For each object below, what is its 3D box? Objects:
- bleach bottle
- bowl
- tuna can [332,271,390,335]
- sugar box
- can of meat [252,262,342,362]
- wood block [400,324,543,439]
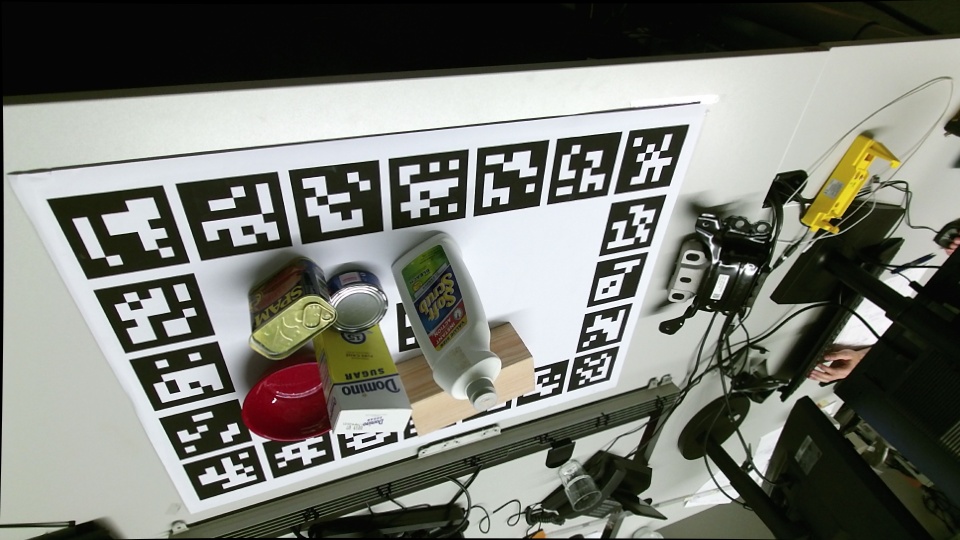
[{"bbox_3d":[-0.024,0.064,0.662,0.103,0.250,0.068,-32,134,-2],"label":"bleach bottle"},{"bbox_3d":[-0.256,0.183,0.766,0.162,0.055,0.162,-17,131,-20],"label":"bowl"},{"bbox_3d":[-0.158,0.044,0.719,0.086,0.033,0.086,-13,127,-19],"label":"tuna can"},{"bbox_3d":[-0.154,0.137,0.697,0.093,0.176,0.045,5,119,-35],"label":"sugar box"},{"bbox_3d":[-0.229,0.050,0.663,0.102,0.083,0.058,-34,136,2],"label":"can of meat"},{"bbox_3d":[-0.012,0.178,0.868,0.207,0.089,0.091,-19,127,-12],"label":"wood block"}]
